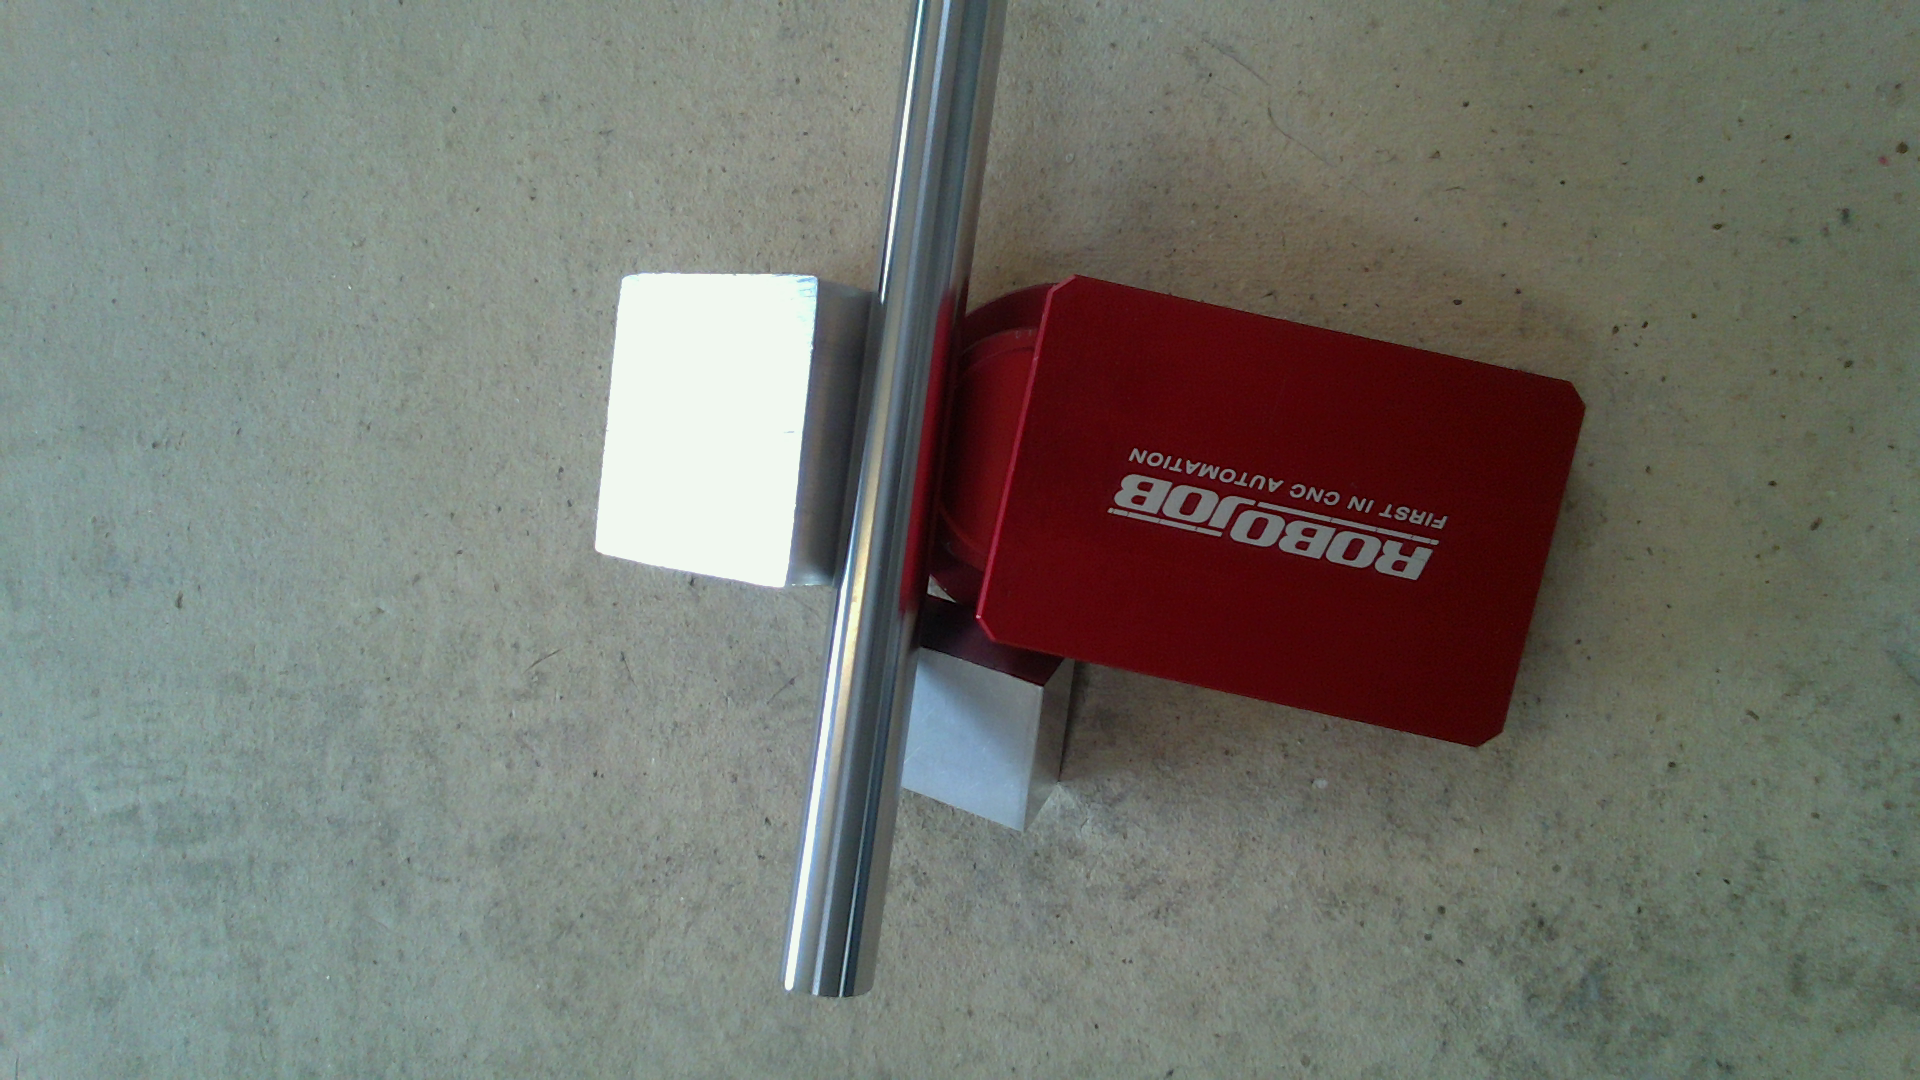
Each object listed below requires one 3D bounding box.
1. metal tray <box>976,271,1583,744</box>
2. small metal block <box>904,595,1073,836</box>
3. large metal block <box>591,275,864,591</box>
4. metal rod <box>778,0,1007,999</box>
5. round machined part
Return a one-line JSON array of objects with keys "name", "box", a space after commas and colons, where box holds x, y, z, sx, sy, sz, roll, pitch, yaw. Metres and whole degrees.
[{"name": "metal tray", "box": [0.076, -0.008, 0.342, 0.130, 0.030, 0.090, 12, 95, -1]}, {"name": "small metal block", "box": [0.002, 0.048, 0.385, 0.050, 0.025, 0.050, 17, 121, 20]}, {"name": "large metal block", "box": [-0.055, -0.030, 0.391, 0.080, 0.050, 0.080, 9, 93, 38]}, {"name": "metal rod", "box": [-0.015, -0.034, 0.357, 0.025, 0.025, 0.300, 8, 91, 20]}, {"name": "round machined part", "box": [0.025, -0.022, 0.377, 0.098, 0.042, 0.098, 0, 90, 20]}]
